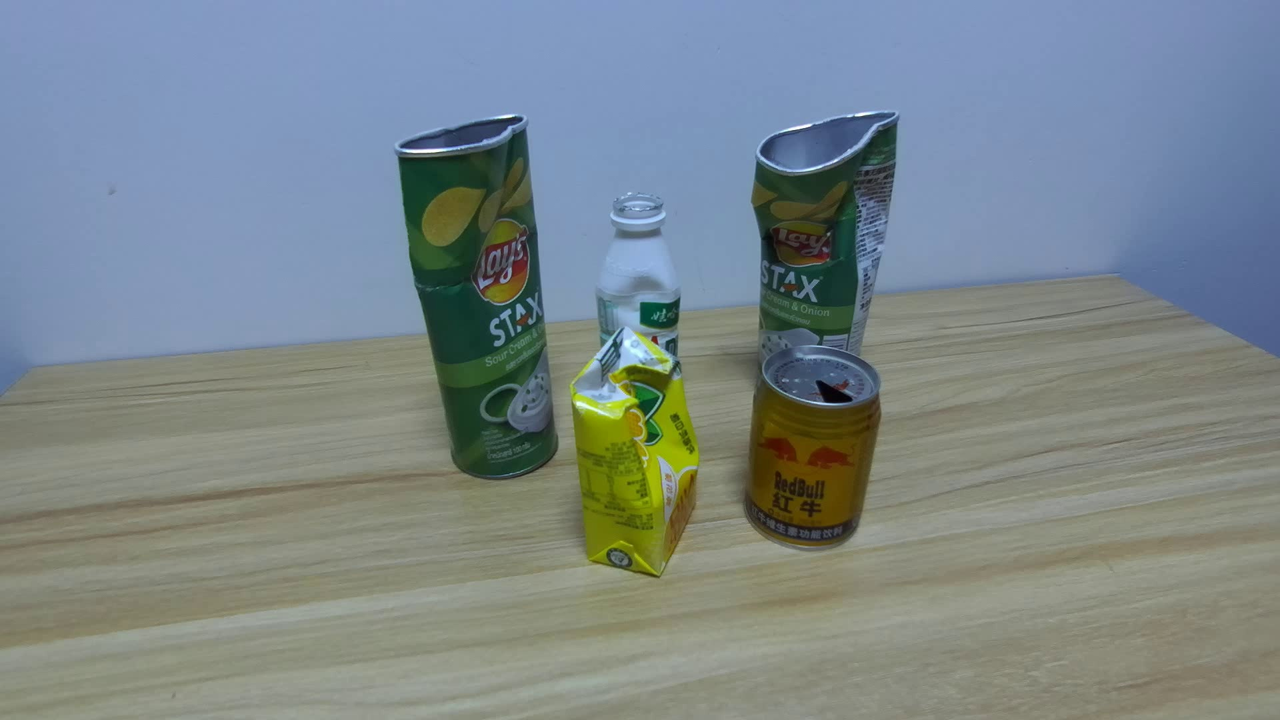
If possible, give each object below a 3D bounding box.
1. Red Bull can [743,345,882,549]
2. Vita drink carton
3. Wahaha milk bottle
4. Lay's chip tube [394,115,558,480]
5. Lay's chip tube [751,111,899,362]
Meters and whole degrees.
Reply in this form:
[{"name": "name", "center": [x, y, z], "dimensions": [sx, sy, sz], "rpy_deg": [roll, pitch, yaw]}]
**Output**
[{"name": "Red Bull can", "center": [0.093, 0.047, 0.382], "dimensions": [0.067, 0.093, 0.067], "rpy_deg": [1, 29, 0]}, {"name": "Vita drink carton", "center": [0.001, 0.047, 0.365], "dimensions": [0.046, 0.110, 0.071], "rpy_deg": [9, 32, 20]}, {"name": "Wahaha milk bottle", "center": [0.000, -0.031, 0.461], "dimensions": [0.055, 0.149, 0.055], "rpy_deg": [1, 28, 0]}, {"name": "Lay's chip tube", "center": [-0.089, -0.031, 0.413], "dimensions": [0.069, 0.200, 0.074], "rpy_deg": [-7, 31, -11]}, {"name": "Lay's chip tube", "center": [0.113, -0.054, 0.457], "dimensions": [0.079, 0.200, 0.071], "rpy_deg": [11, 39, 21]}]
